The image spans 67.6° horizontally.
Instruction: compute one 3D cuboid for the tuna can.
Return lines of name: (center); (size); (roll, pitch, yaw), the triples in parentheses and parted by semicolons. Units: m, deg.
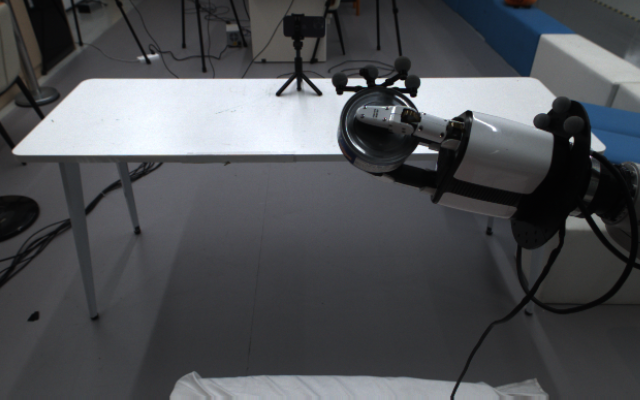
tuna can: (0.062, -0.075, 0.509); (0.085, 0.034, 0.085); (1, 71, -4)
